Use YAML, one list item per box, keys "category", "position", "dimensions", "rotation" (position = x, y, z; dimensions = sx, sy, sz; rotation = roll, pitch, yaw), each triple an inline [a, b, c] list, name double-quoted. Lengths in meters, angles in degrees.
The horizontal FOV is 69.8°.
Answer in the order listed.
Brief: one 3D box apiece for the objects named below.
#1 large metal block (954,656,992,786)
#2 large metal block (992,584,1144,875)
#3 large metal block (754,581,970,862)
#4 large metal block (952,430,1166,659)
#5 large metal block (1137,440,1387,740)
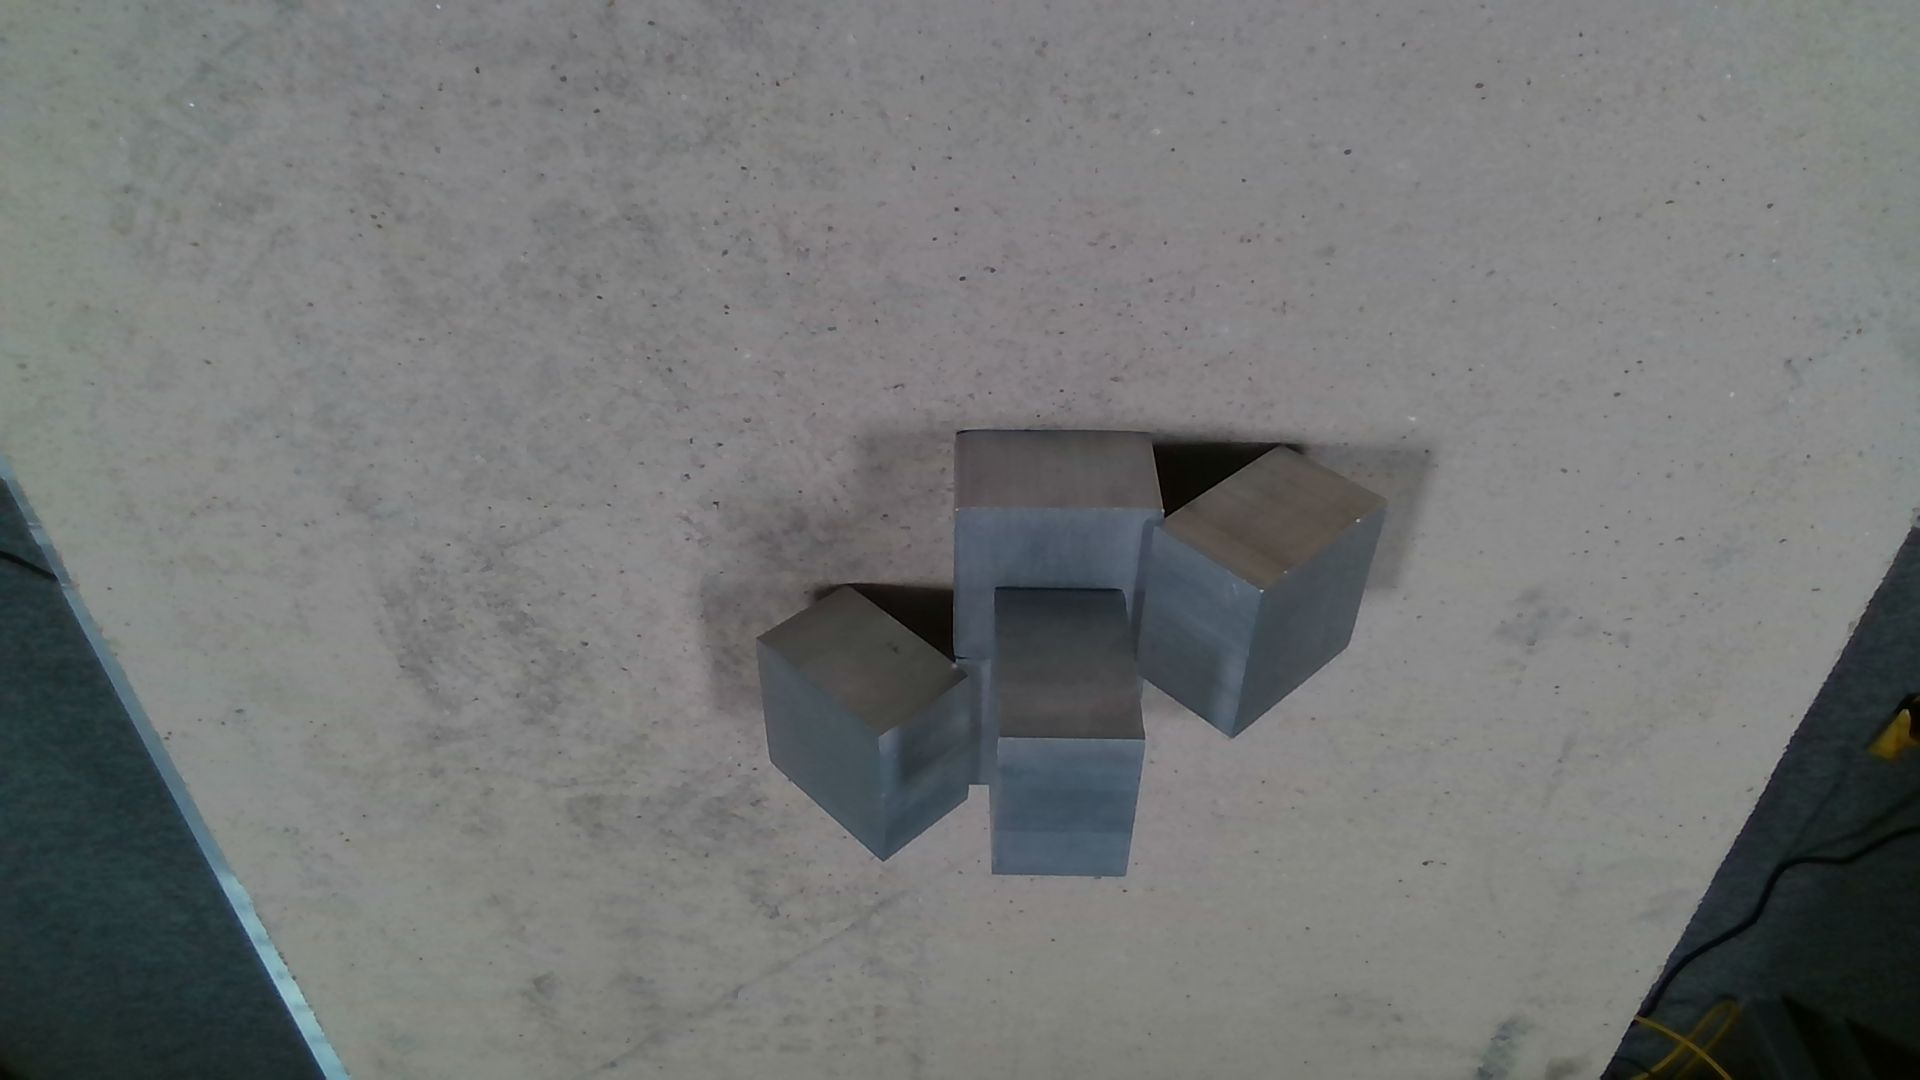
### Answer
- category: "large metal block"
  position: [0.037, 0.065, 0.615]
  dimensions: [0.080, 0.050, 0.080]
  rotation: [1, 130, 0]
- category: "large metal block"
  position: [0.039, 0.074, 0.541]
  dimensions: [0.050, 0.080, 0.080]
  rotation: [1, 130, -1]
- category: "large metal block"
  position: [-0.042, 0.078, 0.601]
  dimensions: [0.050, 0.080, 0.080]
  rotation: [-32, 140, -32]
- category: "large metal block"
  position: [0.037, 0.003, 0.563]
  dimensions: [0.080, 0.050, 0.080]
  rotation: [1, 130, 0]
- category: "large metal block"
  position: [0.119, 0.019, 0.552]
  dimensions: [0.080, 0.050, 0.080]
  rotation: [-31, 139, -33]
